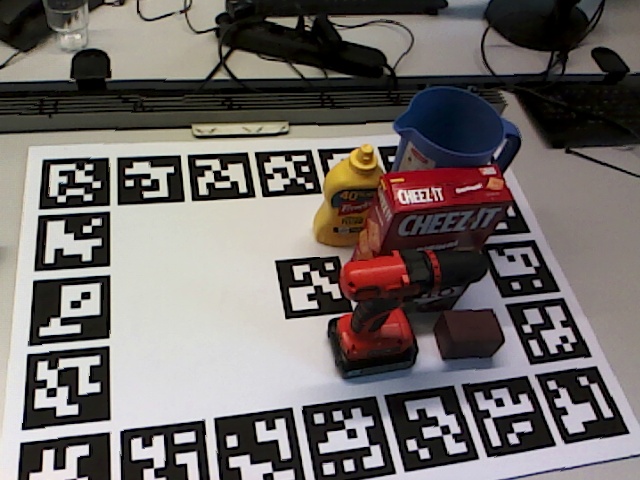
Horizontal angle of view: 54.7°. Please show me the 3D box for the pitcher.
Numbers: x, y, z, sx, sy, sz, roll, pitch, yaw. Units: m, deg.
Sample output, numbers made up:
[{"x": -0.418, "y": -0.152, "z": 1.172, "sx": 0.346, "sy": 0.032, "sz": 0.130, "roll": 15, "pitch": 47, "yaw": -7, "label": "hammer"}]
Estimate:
[{"x": 0.182, "y": -0.093, "z": 0.936, "sx": 0.188, "sy": 0.242, "sz": 0.134, "roll": 0, "pitch": 55, "yaw": -7, "label": "pitcher"}]

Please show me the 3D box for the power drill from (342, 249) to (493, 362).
[{"x": 0.109, "y": 0.082, "z": 0.784, "sx": 0.184, "sy": 0.187, "sz": 0.057, "roll": -5, "pitch": 52, "yaw": -14, "label": "power drill"}]

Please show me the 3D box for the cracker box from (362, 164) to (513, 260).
[{"x": 0.154, "y": -0.003, "z": 0.873, "sx": 0.164, "sy": 0.213, "sz": 0.072, "roll": -7, "pitch": 54, "yaw": -12, "label": "cracker box"}]

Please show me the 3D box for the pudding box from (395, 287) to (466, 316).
[{"x": 0.148, "y": 0.068, "z": 0.887, "sx": 0.113, "sy": 0.090, "sz": 0.039, "roll": -5, "pitch": 54, "yaw": -9, "label": "pudding box"}]

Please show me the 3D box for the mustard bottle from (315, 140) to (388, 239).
[{"x": 0.051, "y": -0.077, "z": 0.917, "sx": 0.096, "sy": 0.191, "sz": 0.058, "roll": 7, "pitch": 55, "yaw": -5, "label": "mustard bottle"}]

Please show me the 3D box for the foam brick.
[{"x": 0.211, "y": 0.135, "z": 0.889, "sx": 0.078, "sy": 0.051, "sz": 0.053, "roll": -2, "pitch": 57, "yaw": -11, "label": "foam brick"}]
